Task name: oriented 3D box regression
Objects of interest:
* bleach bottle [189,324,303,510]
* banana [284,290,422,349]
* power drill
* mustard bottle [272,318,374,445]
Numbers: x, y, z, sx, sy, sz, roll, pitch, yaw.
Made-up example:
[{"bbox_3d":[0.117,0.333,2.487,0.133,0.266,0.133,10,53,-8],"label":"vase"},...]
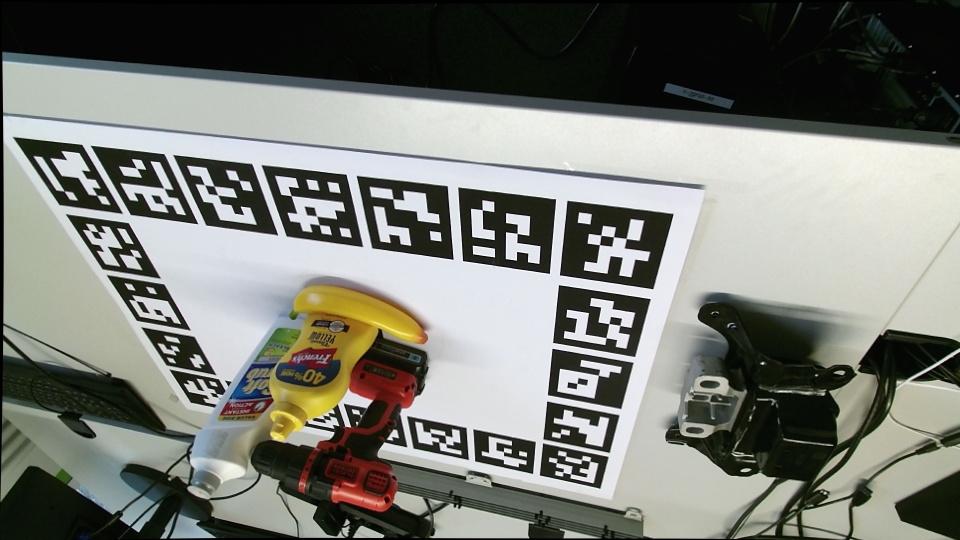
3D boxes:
[{"bbox_3d":[-0.287,0.188,0.706,0.103,0.250,0.068,10,136,9],"label":"bleach bottle"},{"bbox_3d":[-0.173,0.066,0.716,0.198,0.039,0.074,10,129,6],"label":"banana"},{"bbox_3d":[-0.178,0.211,0.697,0.185,0.186,0.057,18,132,4],"label":"power drill"},{"bbox_3d":[-0.213,0.138,0.674,0.096,0.191,0.058,9,130,11],"label":"mustard bottle"}]
